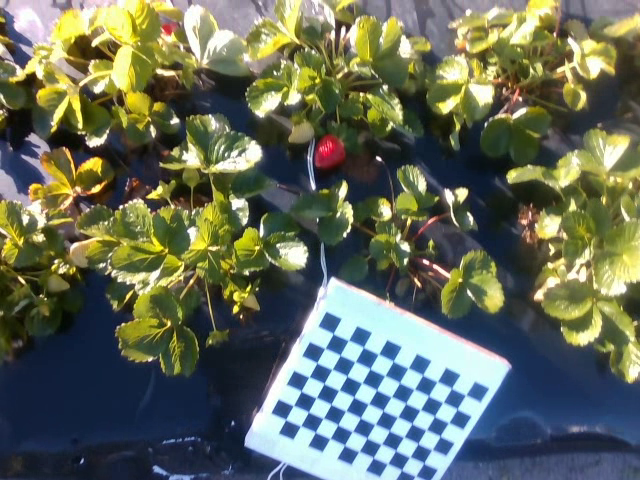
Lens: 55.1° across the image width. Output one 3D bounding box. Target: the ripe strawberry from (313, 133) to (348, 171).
[{"bbox_3d":[0.018,-0.145,0.991,0.040,0.063,0.080,-11,31,51],"label":"ripe strawberry"}]
